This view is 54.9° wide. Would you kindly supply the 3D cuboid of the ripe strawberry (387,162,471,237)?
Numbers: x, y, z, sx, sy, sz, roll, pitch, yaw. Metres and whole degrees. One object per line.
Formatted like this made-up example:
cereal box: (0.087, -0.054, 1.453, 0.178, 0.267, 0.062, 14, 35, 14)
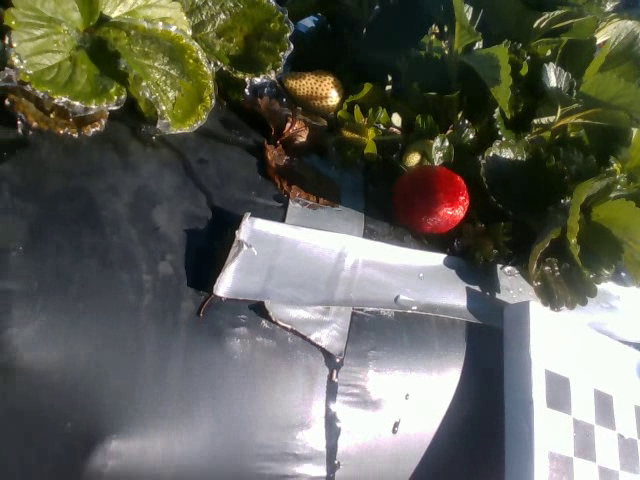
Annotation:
ripe strawberry: (0.076, -0.021, 0.379, 0.057, 0.062, 0.065, -36, 11, 6)
